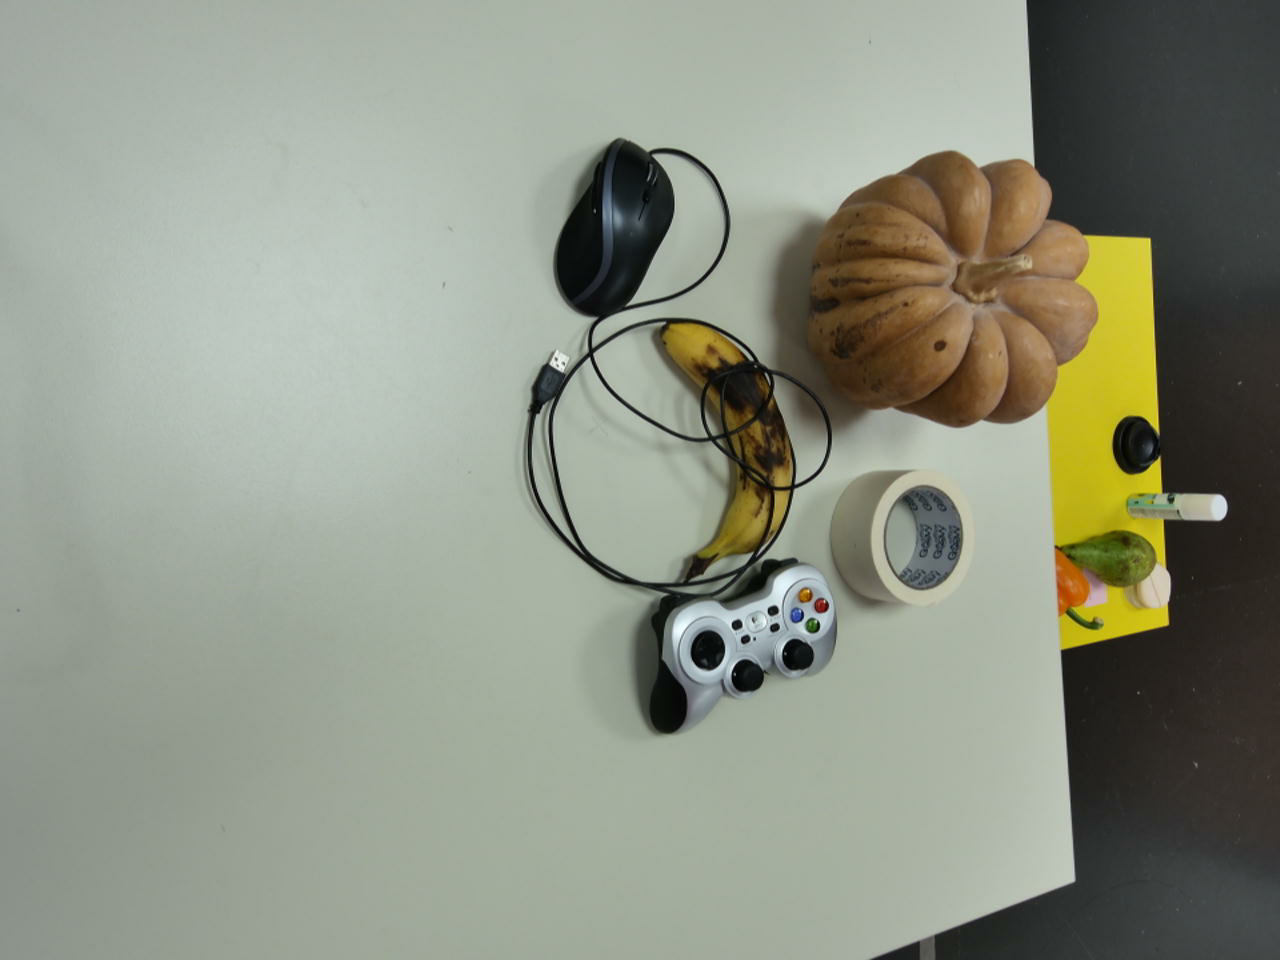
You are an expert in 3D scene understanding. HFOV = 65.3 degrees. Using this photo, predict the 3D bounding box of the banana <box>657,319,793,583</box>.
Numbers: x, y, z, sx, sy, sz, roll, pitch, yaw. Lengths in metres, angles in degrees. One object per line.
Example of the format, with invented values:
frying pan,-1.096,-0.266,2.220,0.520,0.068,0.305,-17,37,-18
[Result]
banana,0.066,-0.026,0.725,0.094,0.039,0.187,-6,94,-28
